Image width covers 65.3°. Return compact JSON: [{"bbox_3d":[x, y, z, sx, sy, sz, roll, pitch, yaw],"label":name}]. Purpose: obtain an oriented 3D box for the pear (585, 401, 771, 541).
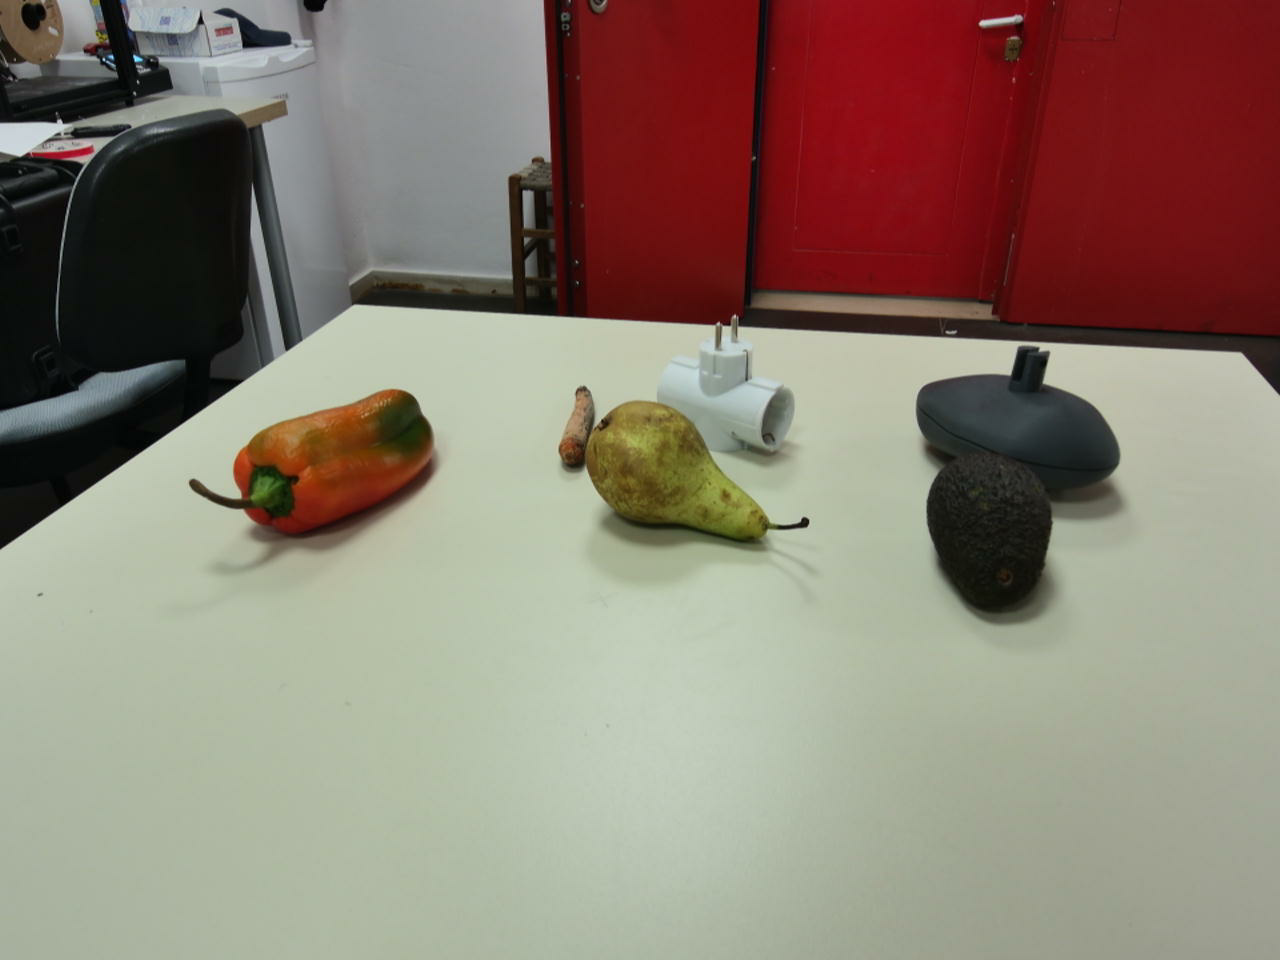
[{"bbox_3d":[0.037,-0.006,0.606,0.144,0.075,0.071,10,28,17],"label":"pear"}]
